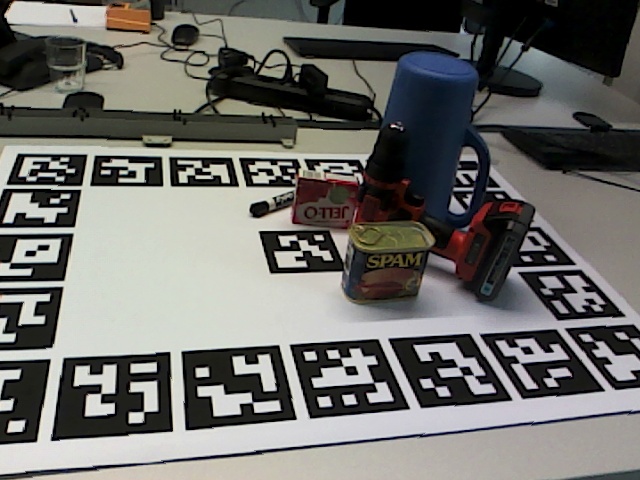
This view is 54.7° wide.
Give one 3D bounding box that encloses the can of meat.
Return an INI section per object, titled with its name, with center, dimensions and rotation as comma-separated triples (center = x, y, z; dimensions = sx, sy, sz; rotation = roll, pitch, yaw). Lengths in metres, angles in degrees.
[can of meat]
center = 0.080, 0.031, 0.754
dimensions = 0.101, 0.083, 0.058
rotation = -1, 33, -16

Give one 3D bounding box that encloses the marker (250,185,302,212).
[marker]
center = -0.052, -0.065, 0.926
dimensions = 0.120, 0.019, 0.020
rotation = -20, 44, -35

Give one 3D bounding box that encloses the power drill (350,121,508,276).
[power drill]
center = 0.137, -0.045, 0.797
dimensions = 0.187, 0.184, 0.057
rotation = 24, 39, 11

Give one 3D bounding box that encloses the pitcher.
[pitcher]
center = 0.164, -0.123, 0.879
dimensions = 0.189, 0.242, 0.133
rotation = 12, 36, 17

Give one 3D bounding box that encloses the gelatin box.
[gelatin box]
center = 0.015, -0.055, 0.883
dimensions = 0.089, 0.073, 0.030
rotation = 7, 38, -6
